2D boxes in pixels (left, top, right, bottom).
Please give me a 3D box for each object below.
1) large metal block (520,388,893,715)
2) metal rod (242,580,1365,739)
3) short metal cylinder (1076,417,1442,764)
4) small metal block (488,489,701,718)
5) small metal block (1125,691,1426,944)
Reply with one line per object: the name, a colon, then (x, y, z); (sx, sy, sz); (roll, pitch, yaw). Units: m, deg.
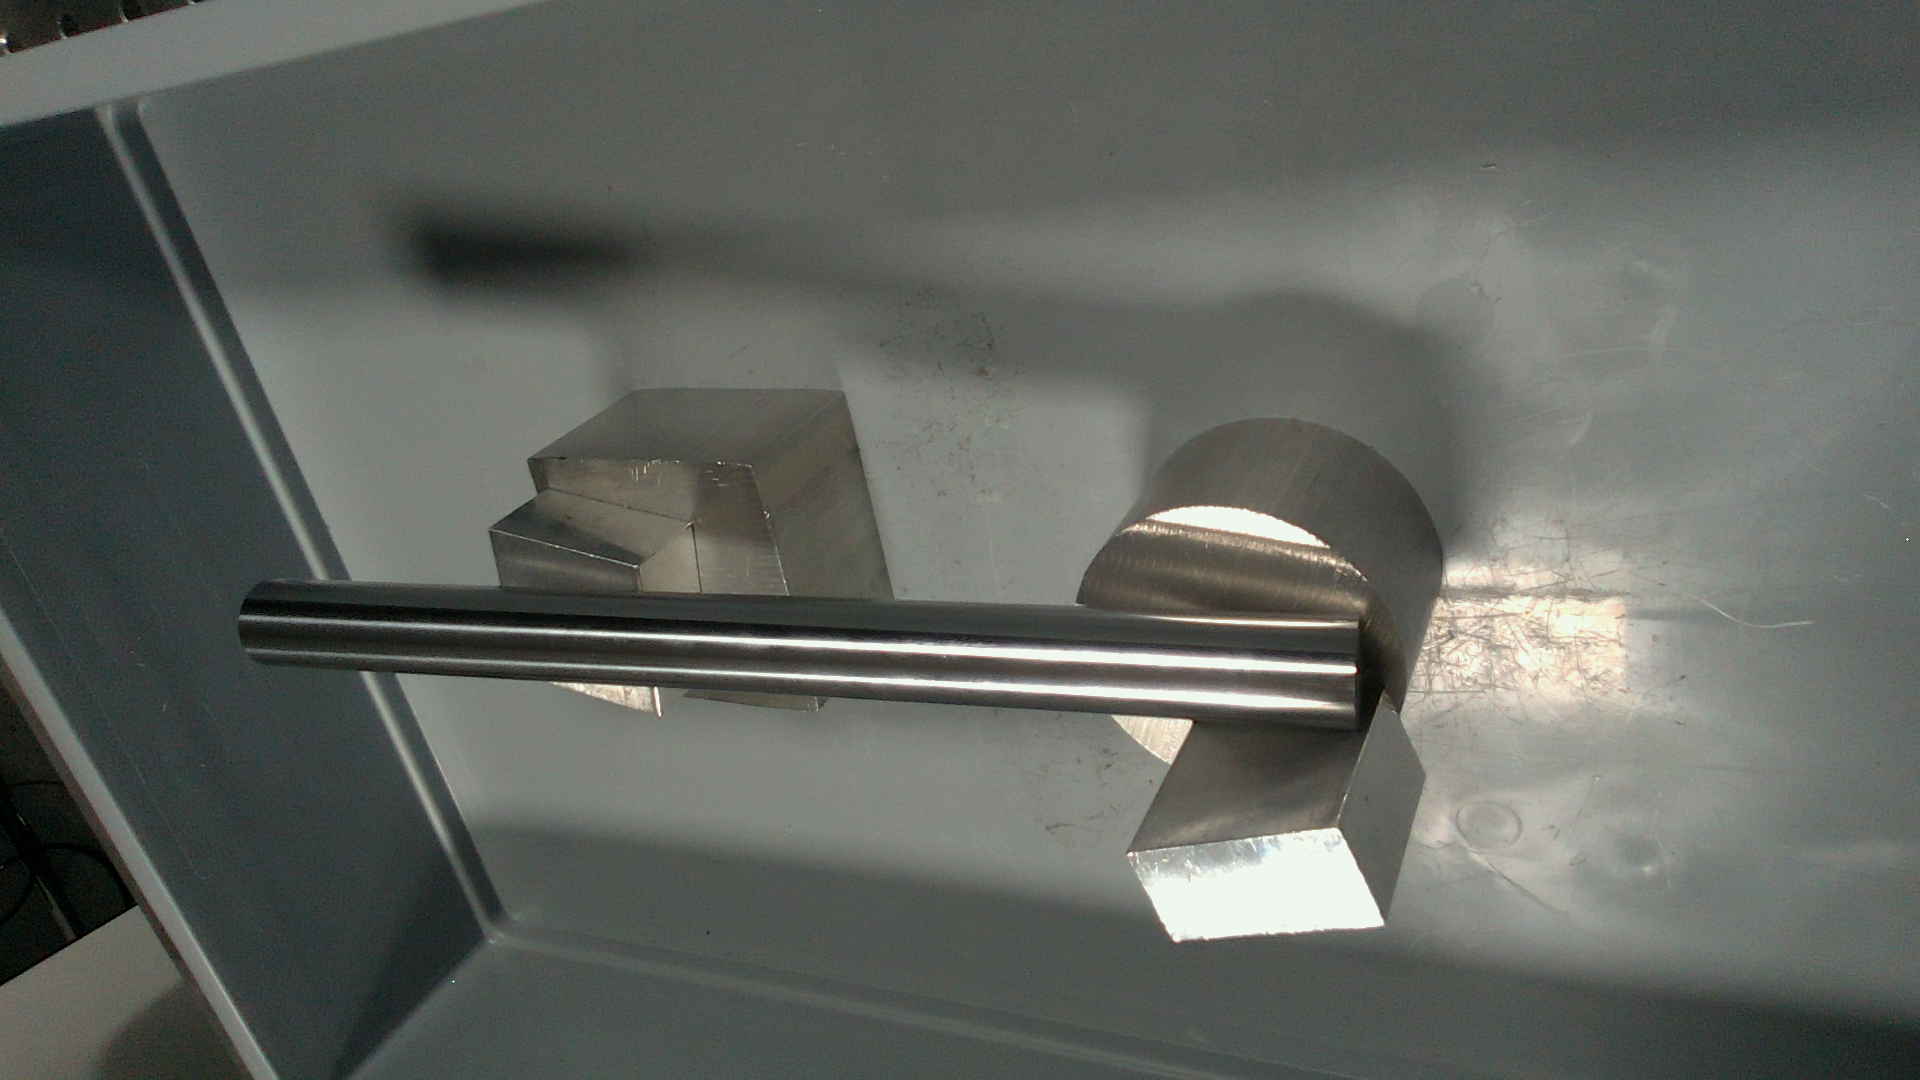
large metal block: (-0.073, 0.001, 0.414); (0.080, 0.050, 0.080); (3, 120, 27)
metal rod: (-0.054, 0.027, 0.346); (0.299, 0.025, 0.025); (1, 119, 19)
short metal cylinder: (0.075, 0.016, 0.345); (0.080, 0.050, 0.080); (13, 124, 21)
small metal block: (-0.101, 0.018, 0.392); (0.050, 0.025, 0.050); (12, 123, 22)
small metal block: (0.072, 0.062, 0.309); (0.050, 0.050, 0.025); (-16, 110, 34)
